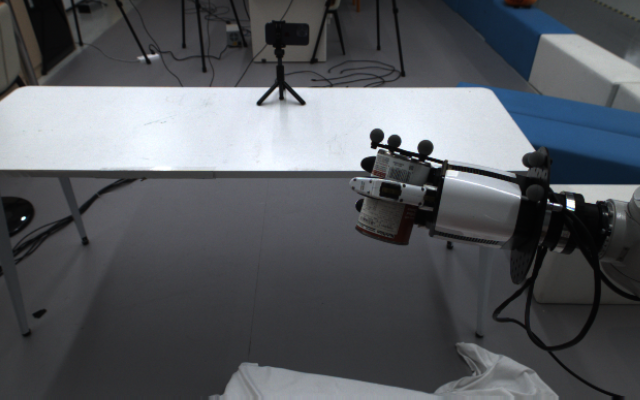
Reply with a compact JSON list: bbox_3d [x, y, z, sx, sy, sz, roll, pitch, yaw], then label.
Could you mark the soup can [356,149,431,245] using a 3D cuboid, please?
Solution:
[{"bbox_3d":[0.090,-0.004,0.588,0.067,0.101,0.067,15,7,-2],"label":"soup can"}]
